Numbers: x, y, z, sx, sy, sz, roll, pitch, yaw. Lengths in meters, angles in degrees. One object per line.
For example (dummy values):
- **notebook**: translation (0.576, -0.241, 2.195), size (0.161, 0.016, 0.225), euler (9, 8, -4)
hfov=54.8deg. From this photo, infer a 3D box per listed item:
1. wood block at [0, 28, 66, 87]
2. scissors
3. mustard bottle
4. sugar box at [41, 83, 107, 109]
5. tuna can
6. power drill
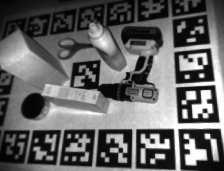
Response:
- **wood block**: translation (-0.242, -0.074, 0.657), size (0.091, 0.208, 0.089), euler (-32, 67, 7)
- **scissors**: translation (-0.136, -0.149, 0.742), size (0.201, 0.016, 0.087), euler (-2, 69, 17)
- **mustard bottle**: translation (-0.030, -0.124, 0.614), size (0.058, 0.193, 0.095), euler (-43, 66, 3)
- **sugar box**: translation (-0.111, 0.027, 0.638), size (0.175, 0.094, 0.045), euler (8, 72, 18)
- **tuna can**: translation (-0.261, 0.054, 0.703), size (0.085, 0.034, 0.085), euler (-5, 73, 15)
- **power drill**: translation (0.032, -0.061, 0.639), size (0.183, 0.058, 0.187), euler (10, 83, 20)
